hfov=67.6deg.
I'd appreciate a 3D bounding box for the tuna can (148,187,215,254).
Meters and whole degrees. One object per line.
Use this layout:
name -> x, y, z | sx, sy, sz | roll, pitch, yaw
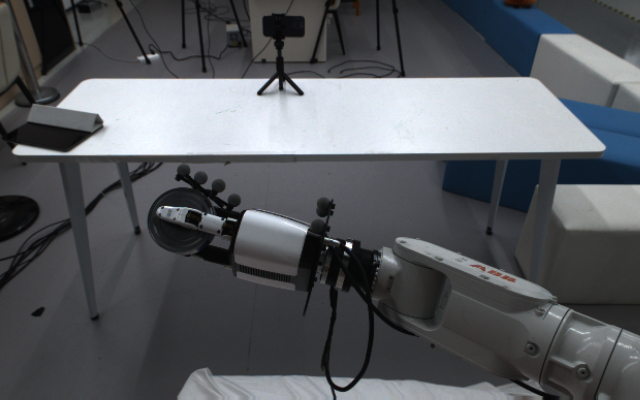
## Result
tuna can -> -0.177, 0.030, 0.633 | 0.085, 0.034, 0.085 | 1, 75, -4
